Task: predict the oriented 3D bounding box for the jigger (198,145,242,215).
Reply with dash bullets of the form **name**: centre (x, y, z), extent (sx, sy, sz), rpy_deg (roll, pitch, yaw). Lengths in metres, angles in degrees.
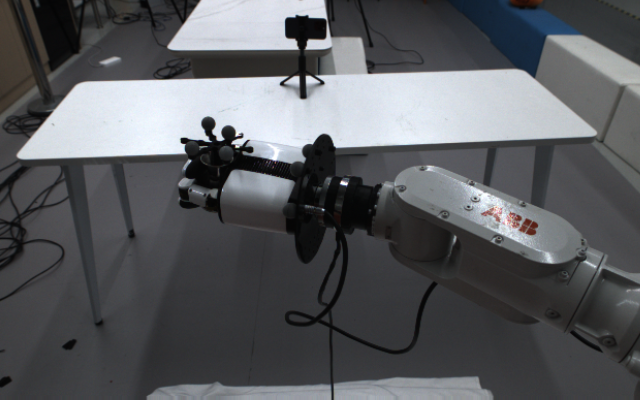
- **jigger**: centre (-0.129, -0.023, 0.617), extent (0.043, 0.071, 0.043), rpy_deg (7, 32, -4)
